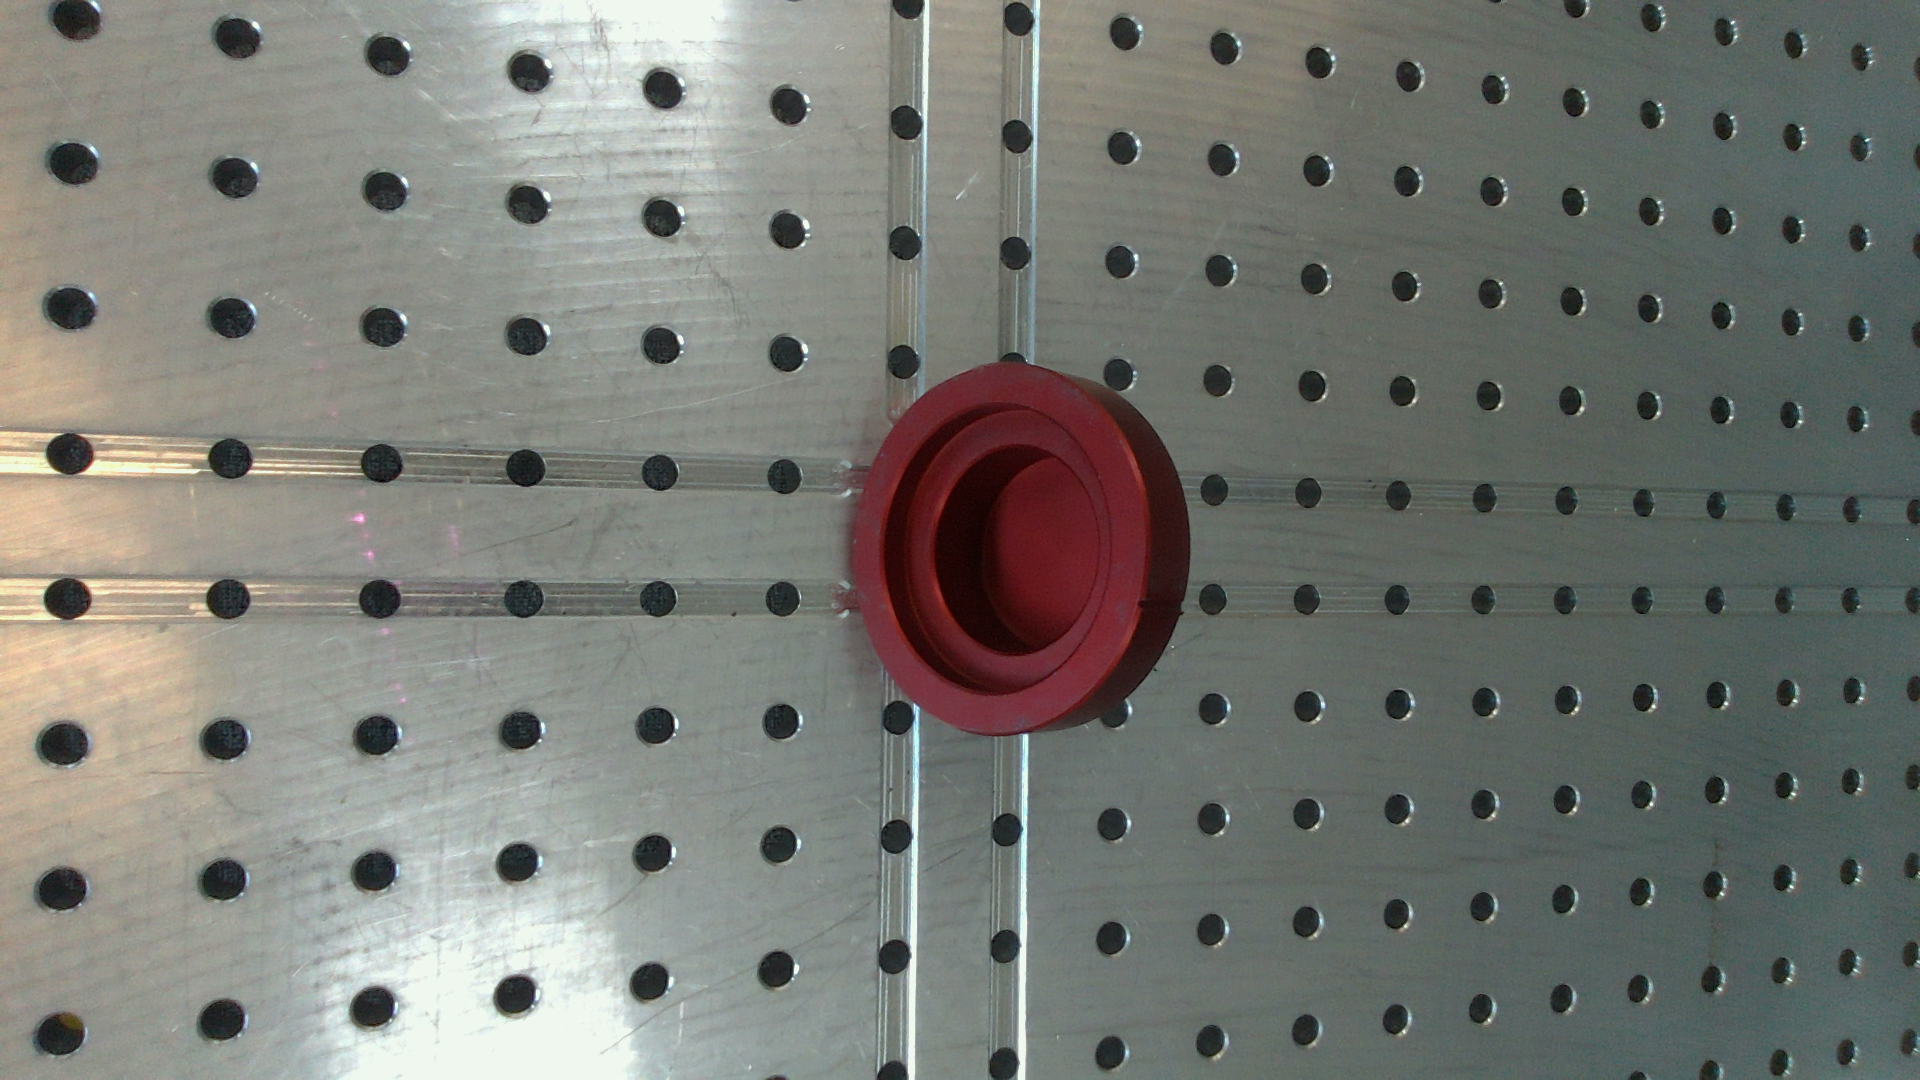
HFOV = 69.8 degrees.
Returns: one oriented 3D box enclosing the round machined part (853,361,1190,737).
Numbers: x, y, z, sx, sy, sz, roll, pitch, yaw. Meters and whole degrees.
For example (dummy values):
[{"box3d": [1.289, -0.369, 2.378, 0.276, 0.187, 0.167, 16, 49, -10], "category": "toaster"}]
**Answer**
[{"box3d": [0.020, 0.003, 0.375, 0.042, 0.098, 0.098, 4, 88, -51], "category": "round machined part"}]
